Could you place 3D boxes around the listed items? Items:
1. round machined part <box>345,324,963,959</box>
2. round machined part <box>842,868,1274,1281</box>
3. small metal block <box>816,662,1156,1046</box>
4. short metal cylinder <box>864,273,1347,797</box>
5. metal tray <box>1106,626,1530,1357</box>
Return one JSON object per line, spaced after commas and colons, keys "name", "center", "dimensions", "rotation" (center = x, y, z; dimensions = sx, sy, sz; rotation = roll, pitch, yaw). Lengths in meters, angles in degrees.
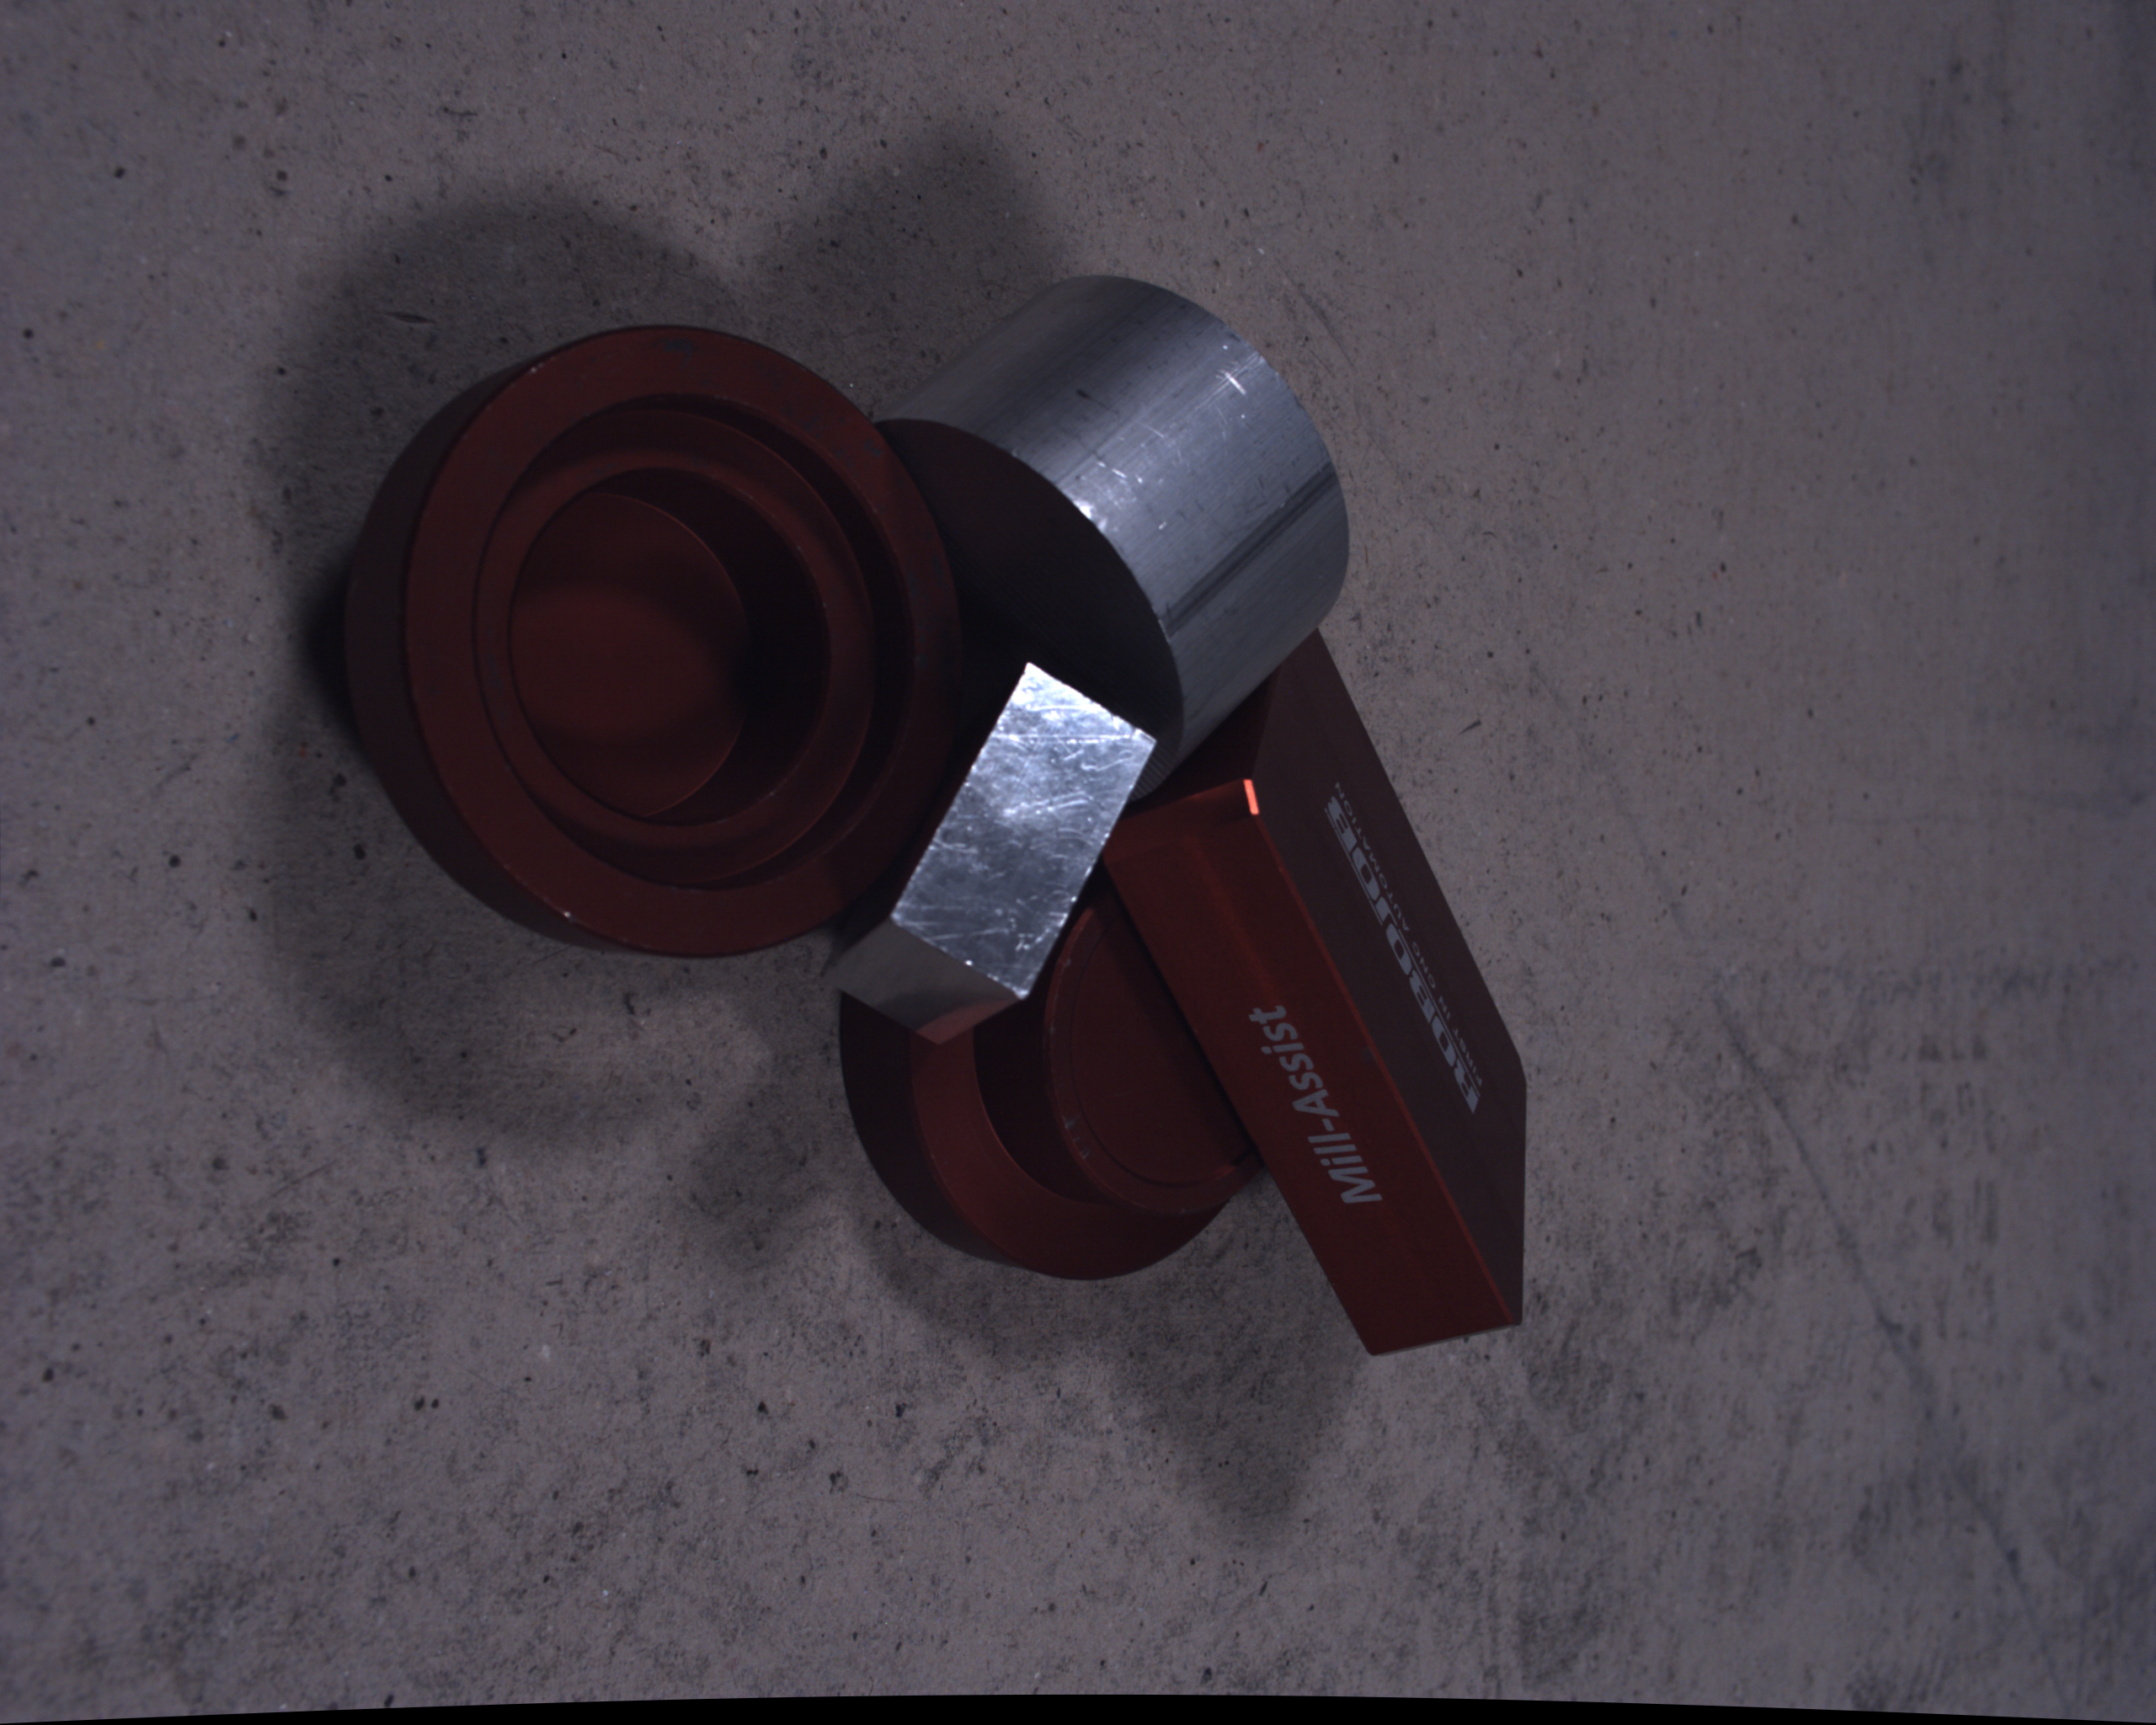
{"name": "round machined part", "center": [-0.070, -0.034, 0.338], "dimensions": [0.099, 0.042, 0.097], "rotation": [0, 90, -40]}
{"name": "round machined part", "center": [0.007, 0.032, 0.403], "dimensions": [0.099, 0.042, 0.097], "rotation": [0, 90, -40]}
{"name": "small metal block", "center": [-0.017, 0.000, 0.355], "dimensions": [0.025, 0.050, 0.050], "rotation": [31, 69, -10]}
{"name": "short metal cylinder", "center": [0.000, -0.057, 0.373], "dimensions": [0.050, 0.080, 0.080], "rotation": [-45, 118, -31]}
{"name": "metal tray", "center": [0.053, 0.022, 0.421], "dimensions": [0.130, 0.030, 0.090], "rotation": [61, 24, -22]}
